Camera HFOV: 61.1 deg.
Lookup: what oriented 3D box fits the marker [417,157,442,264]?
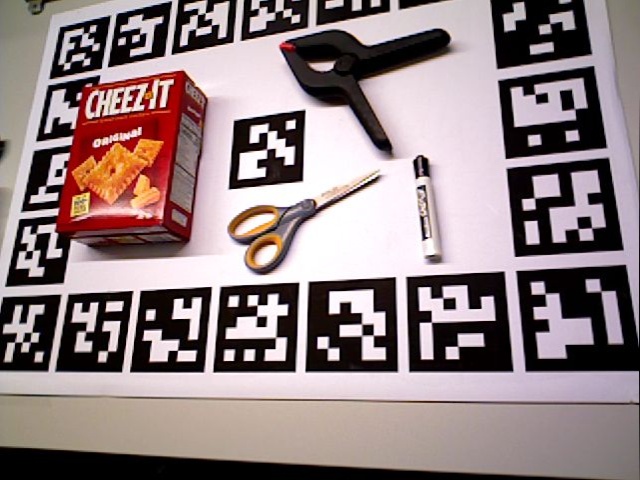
[{"bbox_3d":[0.118,-0.034,0.588,0.020,0.020,0.120,-7,70,17],"label":"marker"}]

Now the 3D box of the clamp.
[{"bbox_3d":[0.040,-0.209,0.680,0.203,0.037,0.164,28,82,25],"label":"clamp"}]

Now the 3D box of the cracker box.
[{"bbox_3d":[-0.242,-0.101,0.711,0.165,0.072,0.212,-2,71,19],"label":"cracker box"}]

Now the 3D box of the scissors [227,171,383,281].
[{"bbox_3d":[-0.017,-0.030,0.635,0.203,0.016,0.087,-30,64,5],"label":"scissors"}]
